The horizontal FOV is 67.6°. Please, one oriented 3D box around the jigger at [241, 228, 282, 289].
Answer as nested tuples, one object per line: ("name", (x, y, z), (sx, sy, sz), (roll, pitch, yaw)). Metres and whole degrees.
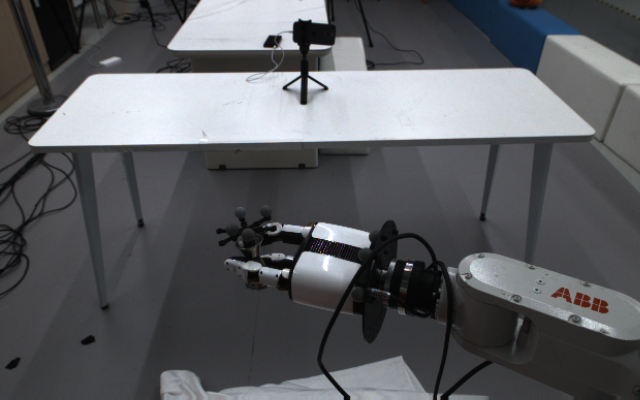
("jigger", (-0.089, 0.085, 0.683), (0.043, 0.071, 0.043), (-10, 24, 5))
